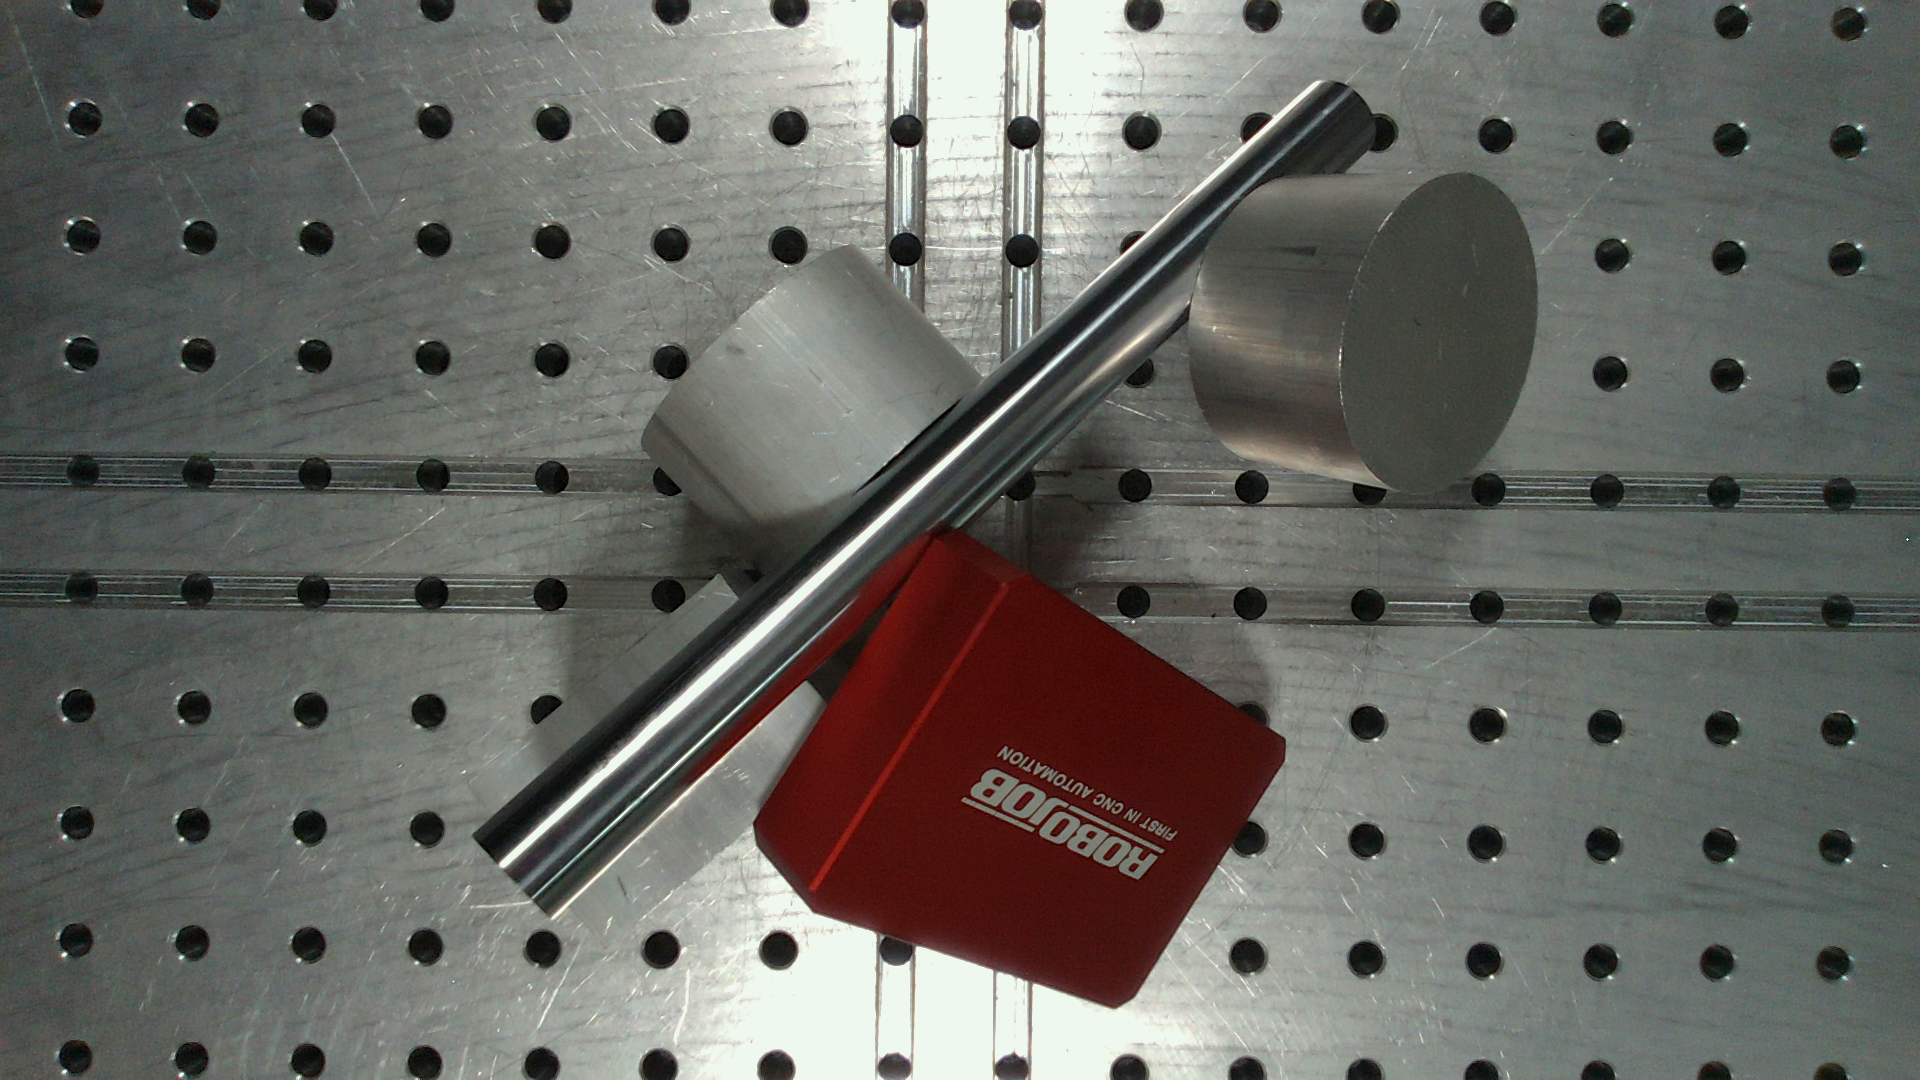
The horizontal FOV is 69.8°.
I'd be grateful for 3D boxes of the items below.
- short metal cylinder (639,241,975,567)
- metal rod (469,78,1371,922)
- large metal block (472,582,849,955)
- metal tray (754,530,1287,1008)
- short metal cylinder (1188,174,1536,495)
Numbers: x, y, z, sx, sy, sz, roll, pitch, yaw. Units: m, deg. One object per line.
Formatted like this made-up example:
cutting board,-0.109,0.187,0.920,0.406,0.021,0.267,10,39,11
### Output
short metal cylinder,-0.039,-0.033,0.370,0.080,0.080,0.050,-44,90,0
metal rod,0.007,-0.025,0.344,0.025,0.025,0.301,46,69,0
large metal block,-0.070,0.055,0.370,0.080,0.080,0.050,-40,90,0
metal tray,0.022,0.064,0.356,0.130,0.030,0.090,32,90,-42
short metal cylinder,0.107,-0.056,0.365,0.080,0.050,0.080,-11,109,-35
